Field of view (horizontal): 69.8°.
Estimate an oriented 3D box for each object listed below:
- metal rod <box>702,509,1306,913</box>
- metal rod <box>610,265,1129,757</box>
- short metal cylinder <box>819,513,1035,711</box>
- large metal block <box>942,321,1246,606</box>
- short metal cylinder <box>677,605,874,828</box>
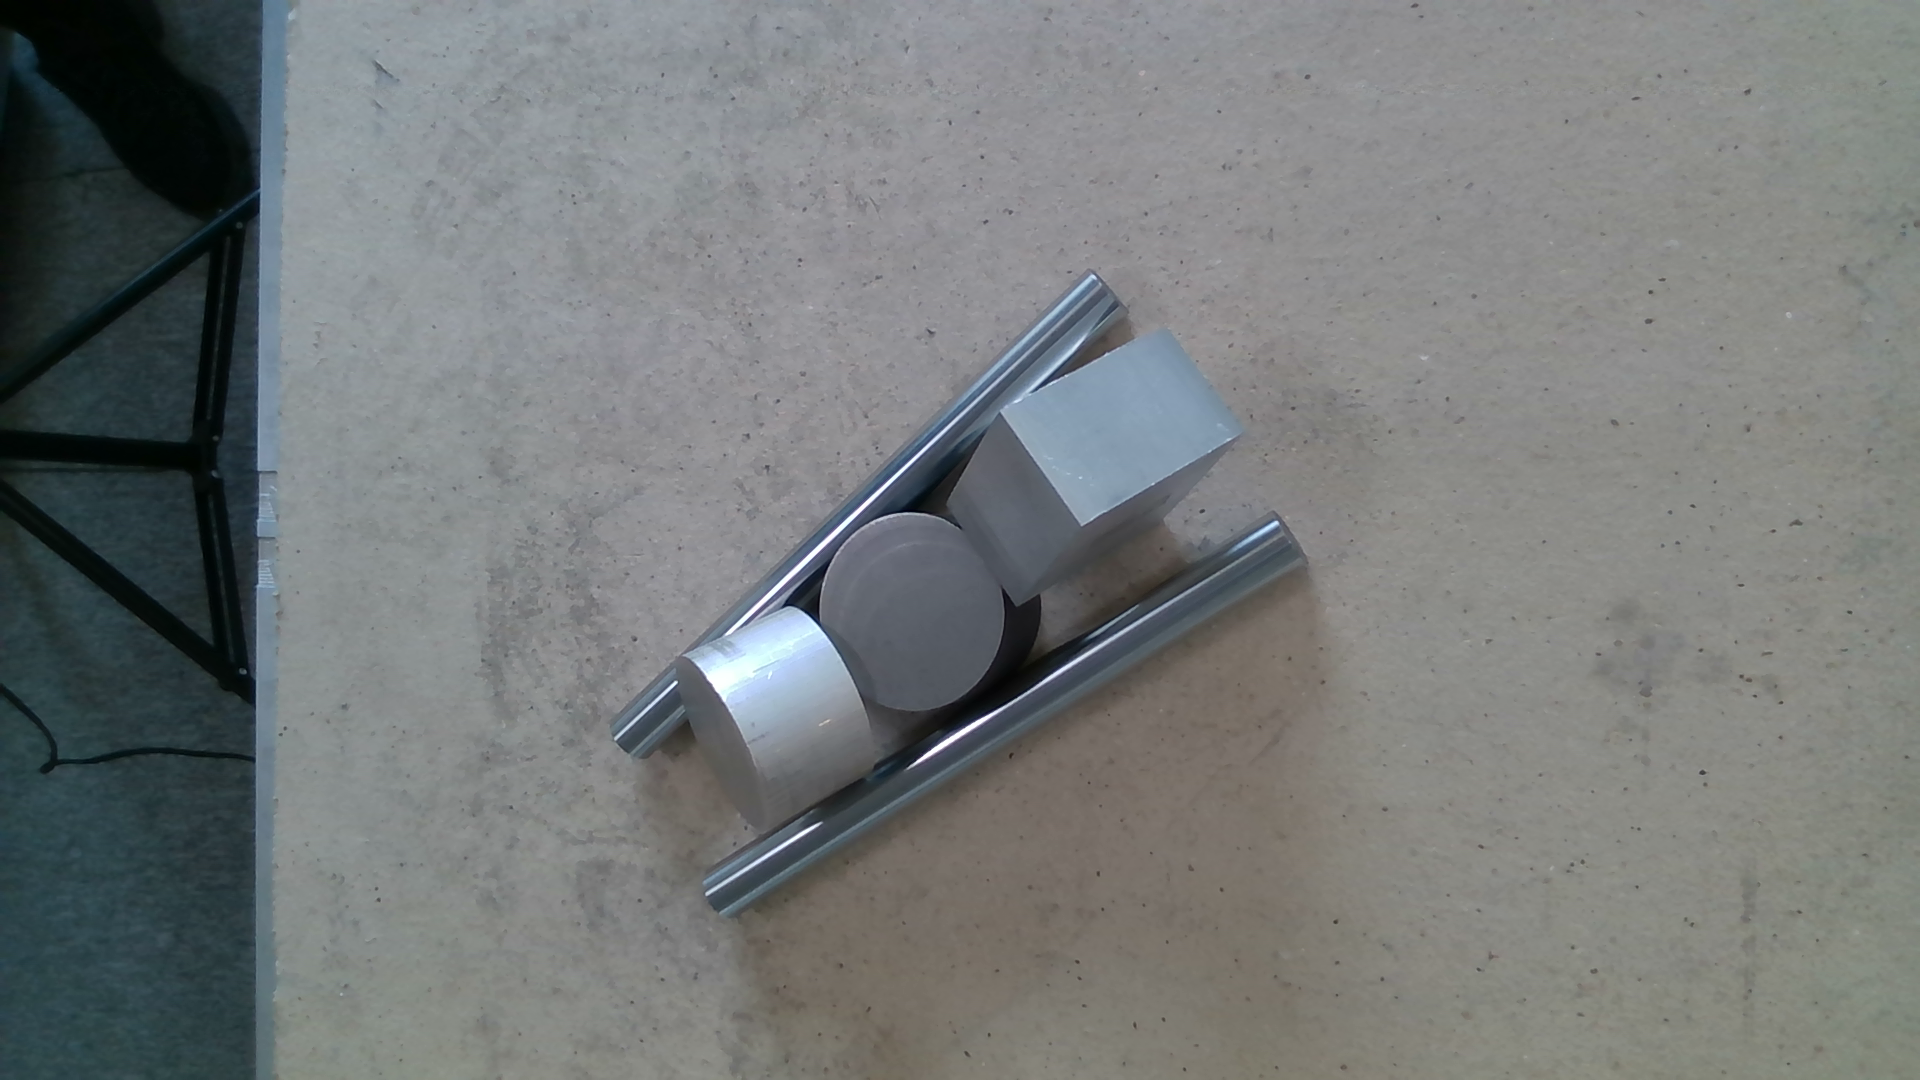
[{"bbox_3d":[0.010,0.078,0.583,0.300,0.025,0.025,-34,79,17],"label":"metal rod"},{"bbox_3d":[-0.047,-0.006,0.603,0.300,0.025,0.025,-42,77,16],"label":"metal rod"},{"bbox_3d":[-0.012,0.029,0.577,0.080,0.050,0.080,0,91,20],"label":"short metal cylinder"},{"bbox_3d":[0.048,-0.027,0.522,0.080,0.080,0.050,-30,77,-24],"label":"large metal block"},{"bbox_3d":[-0.079,0.074,0.580,0.050,0.080,0.080,-25,79,-24],"label":"short metal cylinder"}]
